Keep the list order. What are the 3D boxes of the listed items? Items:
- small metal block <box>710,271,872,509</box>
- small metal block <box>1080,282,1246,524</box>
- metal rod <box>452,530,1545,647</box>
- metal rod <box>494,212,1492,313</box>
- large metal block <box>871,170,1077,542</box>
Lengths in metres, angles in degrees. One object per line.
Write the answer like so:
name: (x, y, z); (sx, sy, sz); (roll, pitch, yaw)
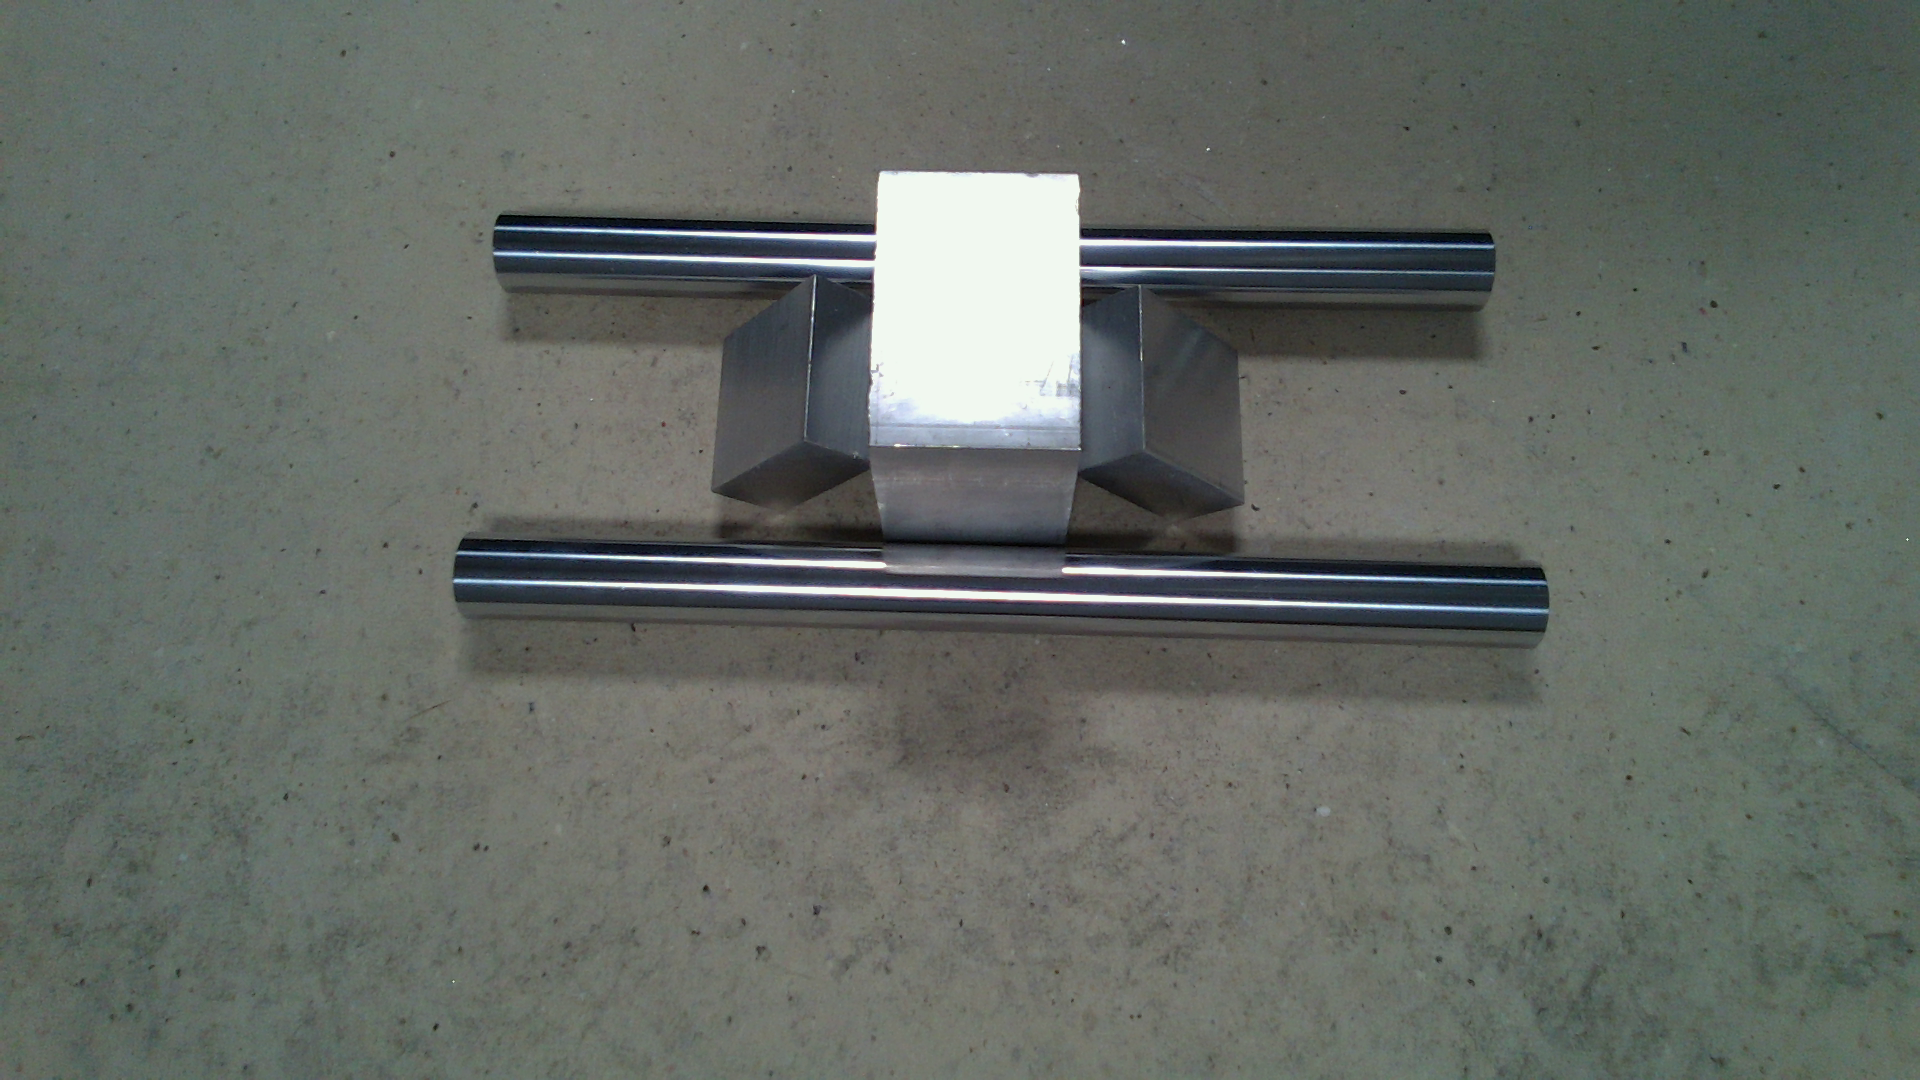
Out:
small metal block: (-0.047, -0.041, 0.395); (0.025, 0.050, 0.050); (16, 65, -36)
small metal block: (0.056, -0.038, 0.394); (0.025, 0.050, 0.050); (-17, 63, 39)
metal rod: (0.010, 0.014, 0.390); (0.300, 0.025, 0.025); (2, 70, 0)
metal rod: (0.010, -0.086, 0.426); (0.300, 0.025, 0.025); (1, 70, 0)
large metal block: (0.004, -0.045, 0.384); (0.050, 0.080, 0.080); (1, 70, 0)
